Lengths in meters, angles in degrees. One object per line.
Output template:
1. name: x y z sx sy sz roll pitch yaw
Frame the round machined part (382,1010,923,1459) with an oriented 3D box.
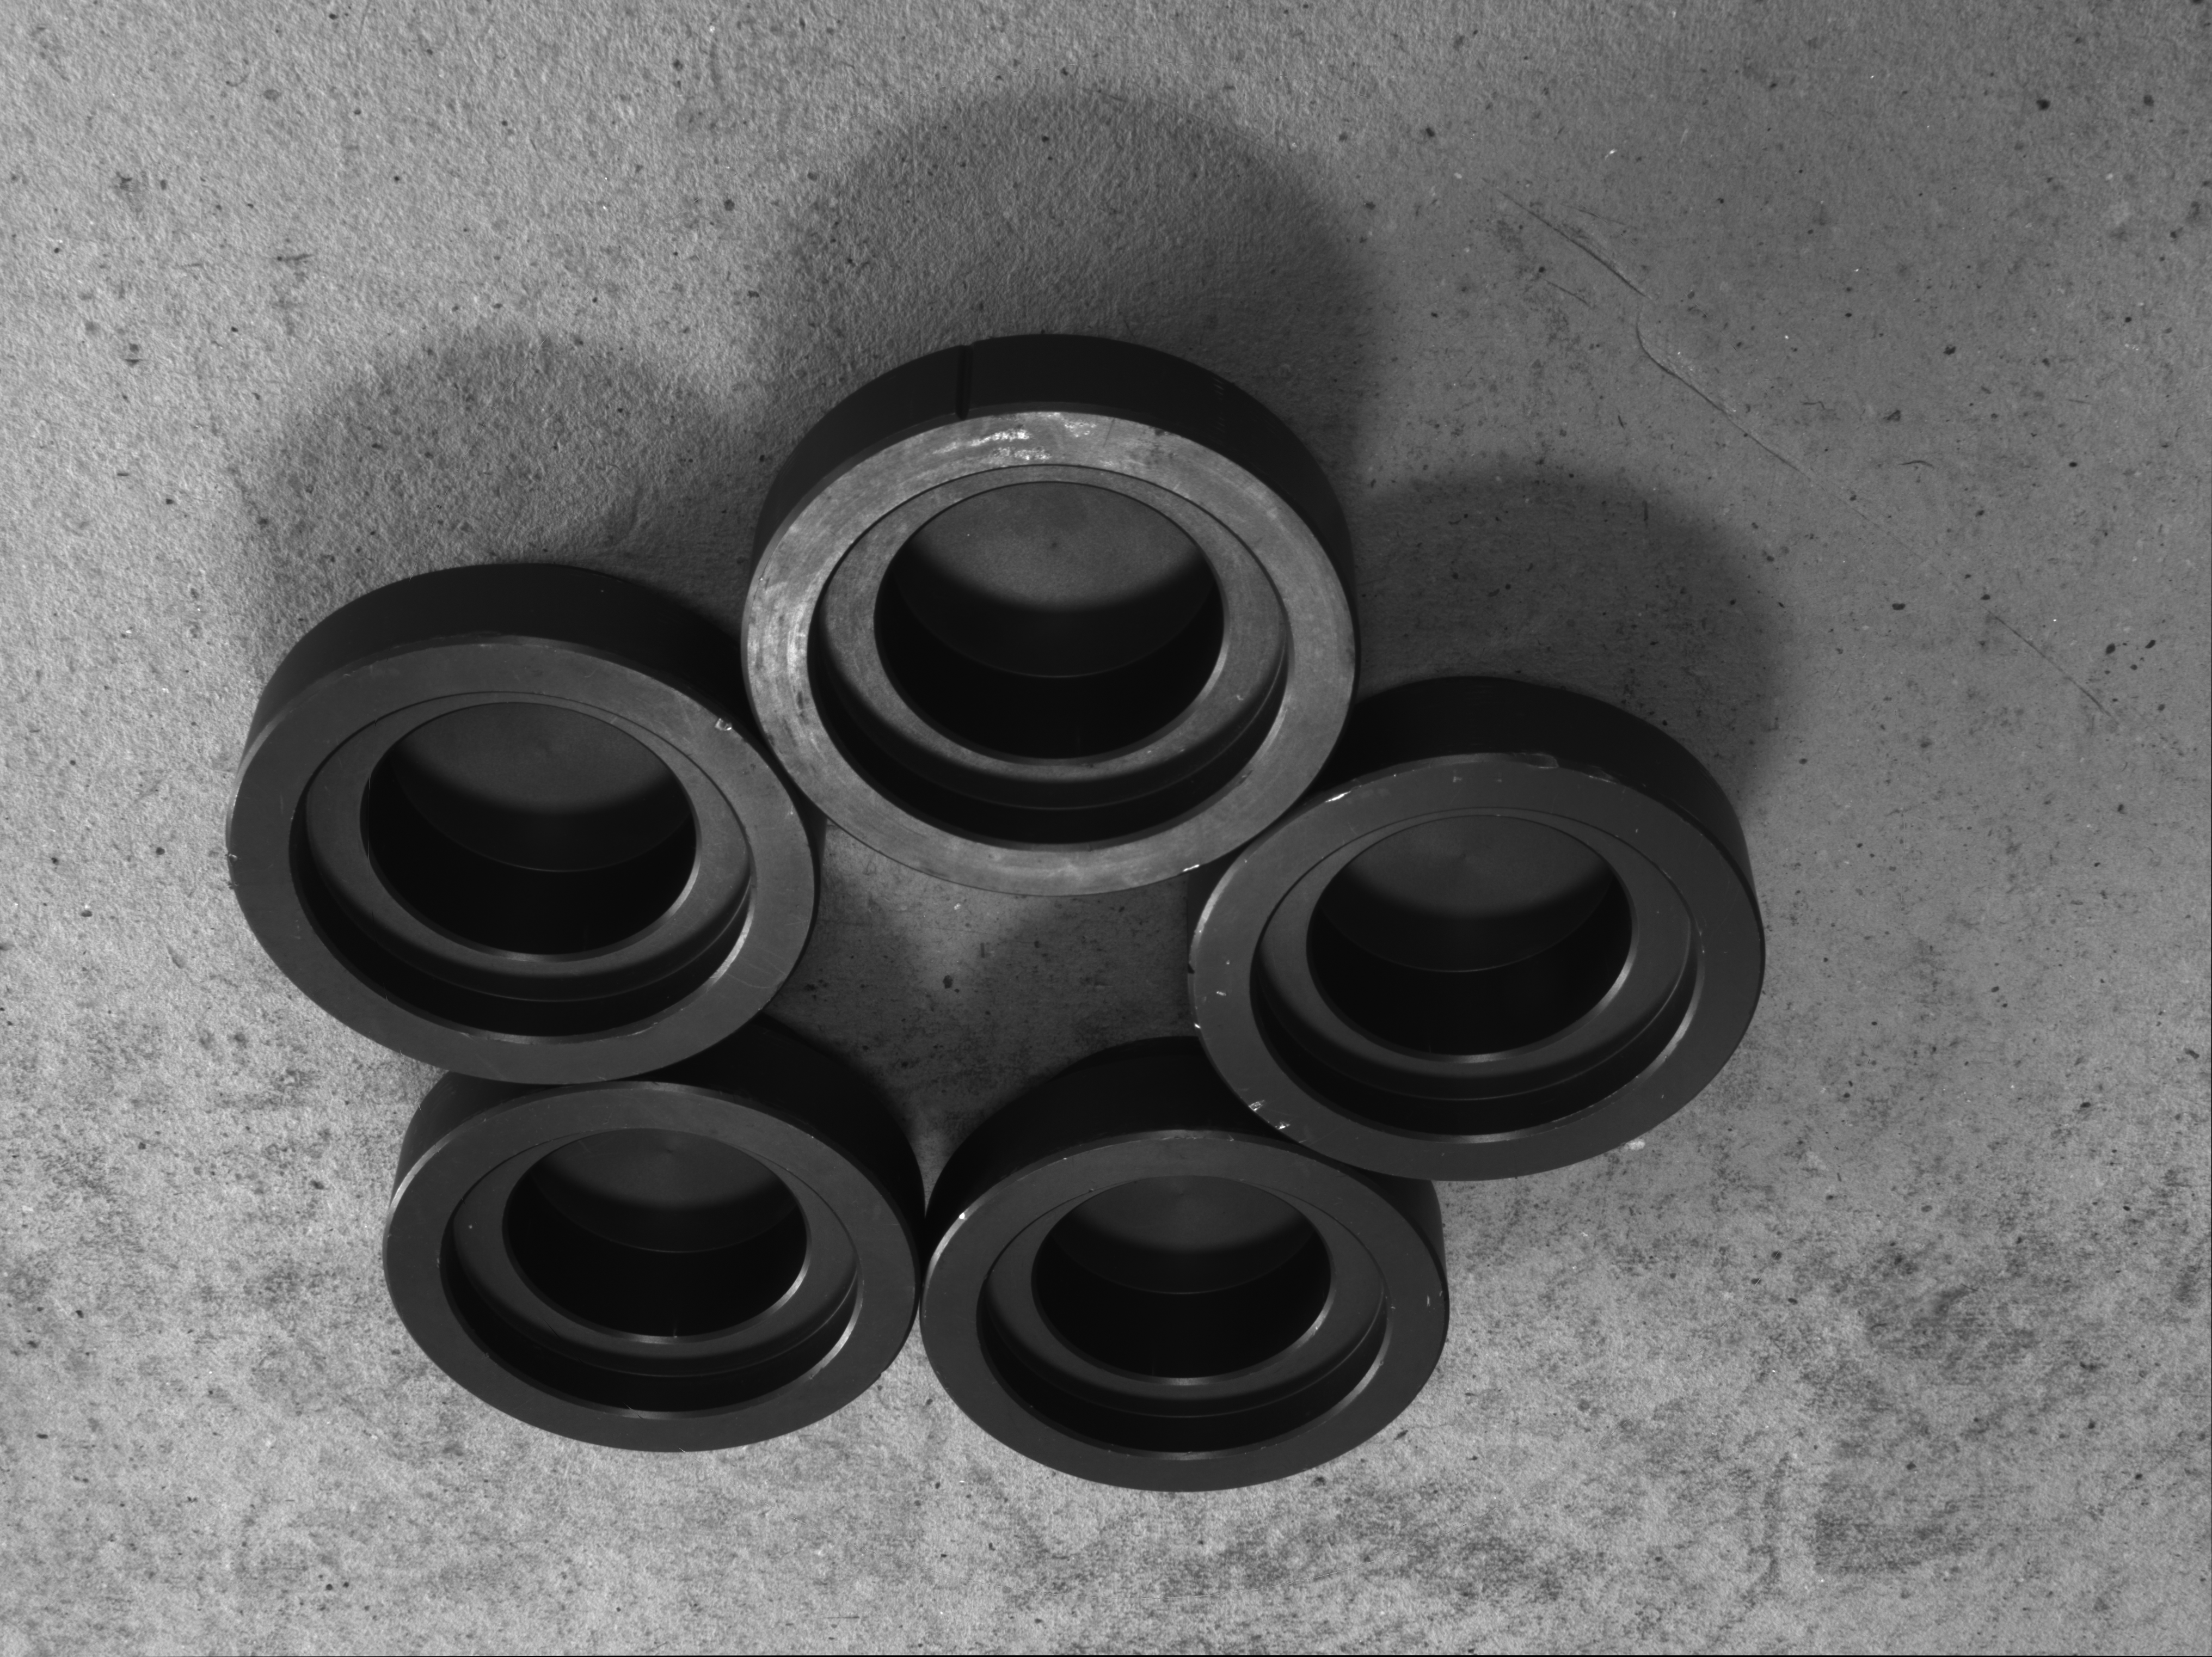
1. round machined part: -0.083 0.070 0.685 0.098 0.042 0.098 -1 129 -1

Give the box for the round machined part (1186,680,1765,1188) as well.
1. round machined part: 0.063 0.013 0.638 0.098 0.042 0.098 -1 129 -1

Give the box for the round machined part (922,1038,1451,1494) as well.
1. round machined part: 0.015 0.078 0.694 0.098 0.042 0.098 -1 129 -1

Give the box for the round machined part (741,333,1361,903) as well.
1. round machined part: -0.009 -0.038 0.595 0.098 0.042 0.098 -1 129 -1

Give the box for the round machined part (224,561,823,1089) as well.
1. round machined part: -0.097 -0.006 0.623 0.098 0.042 0.098 0 129 0
